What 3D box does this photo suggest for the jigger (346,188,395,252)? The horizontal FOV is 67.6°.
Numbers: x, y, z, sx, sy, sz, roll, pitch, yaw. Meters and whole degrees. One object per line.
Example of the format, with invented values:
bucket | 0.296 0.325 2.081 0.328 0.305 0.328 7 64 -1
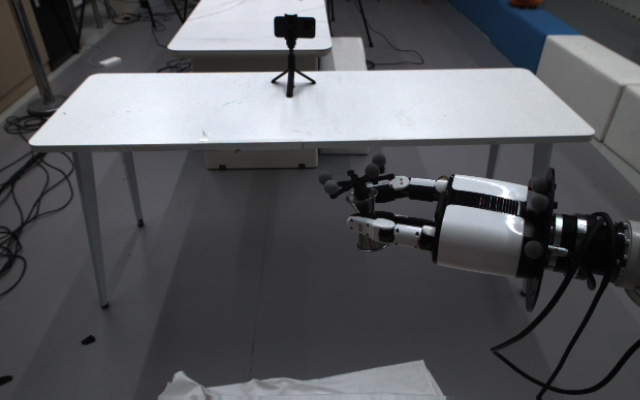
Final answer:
jigger | 0.060 0.024 0.595 0.043 0.071 0.043 -14 21 6
